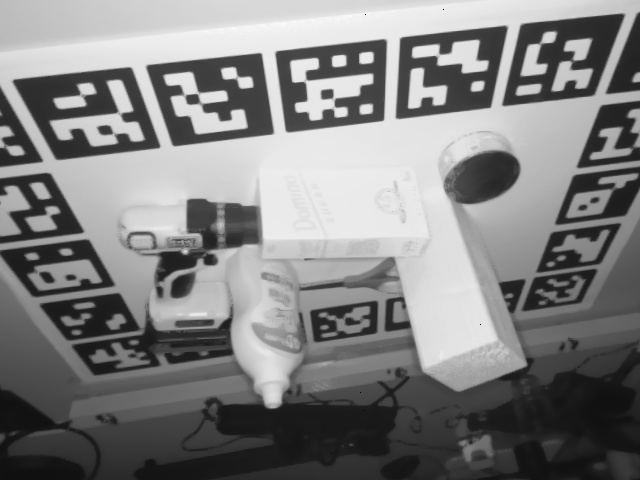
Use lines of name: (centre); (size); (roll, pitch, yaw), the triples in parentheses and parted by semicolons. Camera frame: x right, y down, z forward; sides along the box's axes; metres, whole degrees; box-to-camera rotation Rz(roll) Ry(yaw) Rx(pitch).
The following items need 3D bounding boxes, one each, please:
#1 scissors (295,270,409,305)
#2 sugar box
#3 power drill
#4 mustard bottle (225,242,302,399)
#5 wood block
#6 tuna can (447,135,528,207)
scissors: (0.066, 0.065, 0.919); (0.204, 0.016, 0.087); (-4, 142, -7)
sugar box: (0.024, -0.035, 0.743); (0.178, 0.093, 0.045); (4, 140, -13)
power drill: (-0.119, 0.024, 0.804); (0.186, 0.057, 0.184); (3, 130, -15)
mustard bottle: (-0.064, 0.097, 0.808); (0.057, 0.192, 0.097); (-34, 132, 25)
wood block: (0.154, 0.055, 0.797); (0.090, 0.207, 0.090); (-25, 135, 17)
tuna can: (0.185, -0.074, 0.769); (0.086, 0.034, 0.085); (-6, 138, -4)
